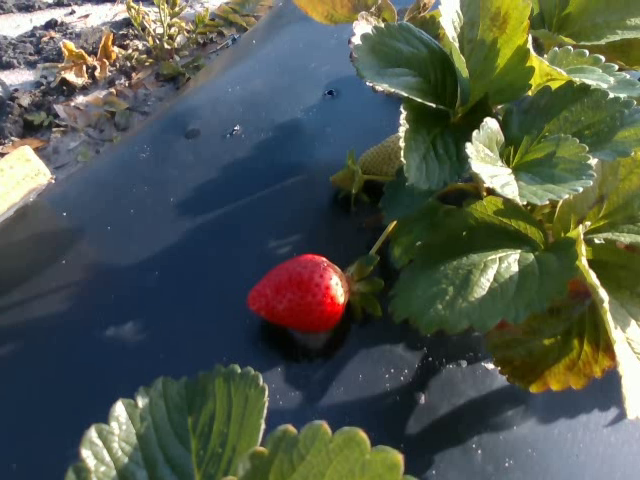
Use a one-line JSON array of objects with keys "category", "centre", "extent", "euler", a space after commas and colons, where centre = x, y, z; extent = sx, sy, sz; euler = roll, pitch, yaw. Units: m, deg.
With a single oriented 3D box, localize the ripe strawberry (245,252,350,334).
[{"category": "ripe strawberry", "centre": [-0.009, 0.021, 0.224], "extent": [0.044, 0.033, 0.030], "euler": [-7, 9, -9]}]
